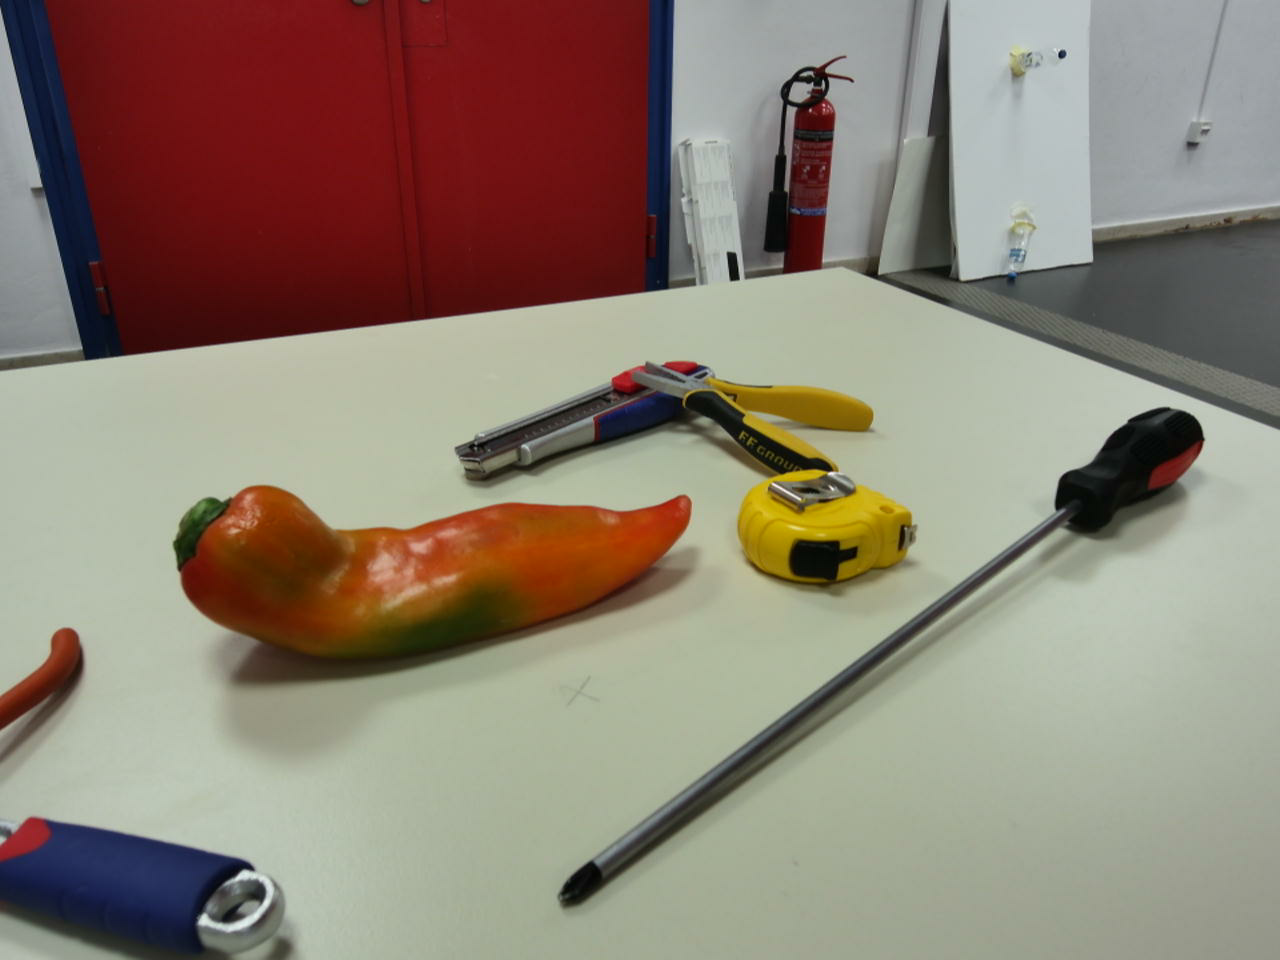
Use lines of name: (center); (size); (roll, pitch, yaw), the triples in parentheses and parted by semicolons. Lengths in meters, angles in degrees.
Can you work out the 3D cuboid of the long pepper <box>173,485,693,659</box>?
long pepper: (-0.069, 0.022, 0.383); (0.199, 0.065, 0.066); (-9, 26, -20)
